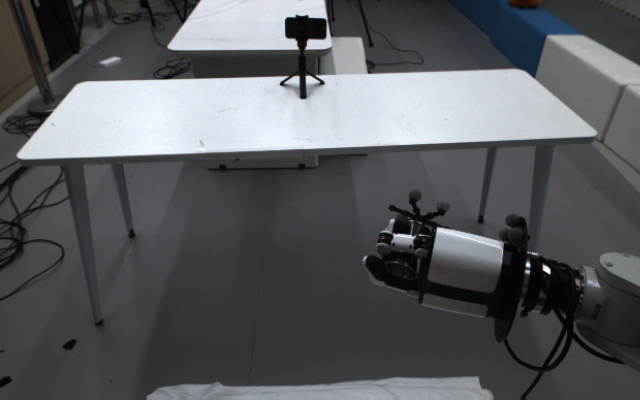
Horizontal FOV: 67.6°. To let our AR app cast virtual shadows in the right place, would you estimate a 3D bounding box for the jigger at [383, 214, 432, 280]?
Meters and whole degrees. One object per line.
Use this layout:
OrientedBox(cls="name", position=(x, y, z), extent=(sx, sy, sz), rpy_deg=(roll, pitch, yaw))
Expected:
OrientedBox(cls="jigger", position=(0.119, 0.063, 0.642), extent=(0.043, 0.043, 0.071), rpy_deg=(15, 58, 19))
